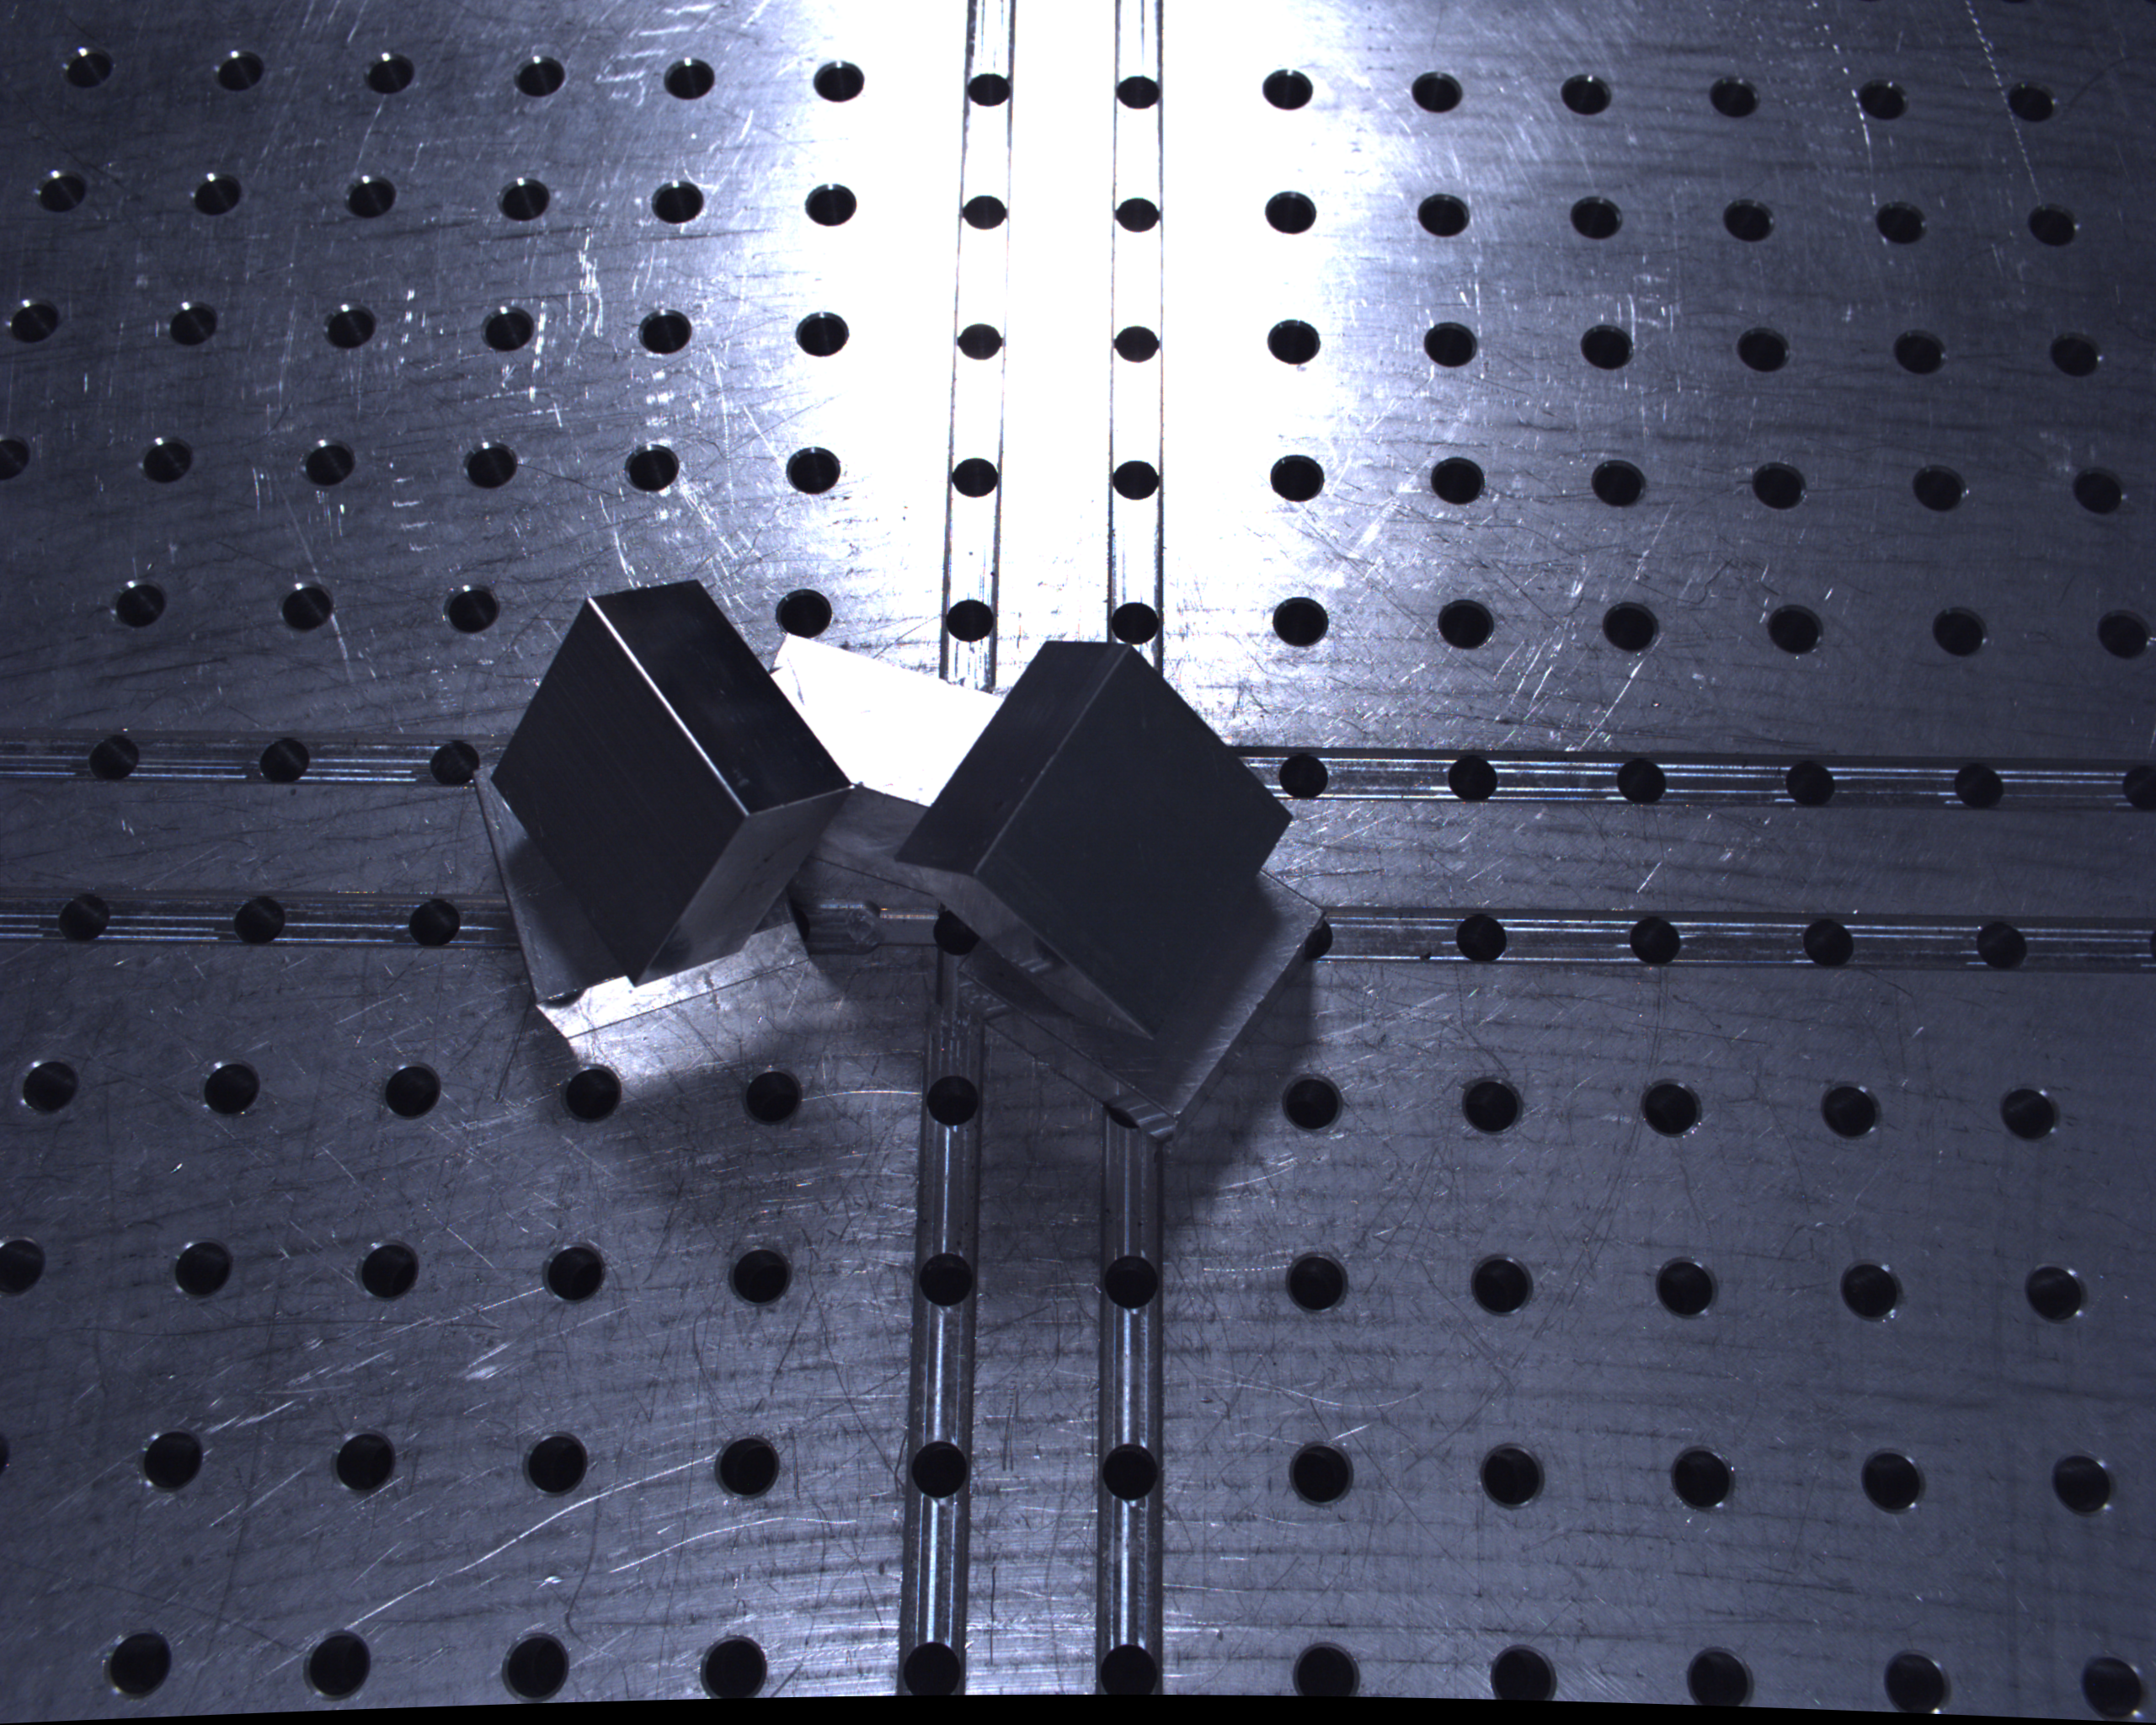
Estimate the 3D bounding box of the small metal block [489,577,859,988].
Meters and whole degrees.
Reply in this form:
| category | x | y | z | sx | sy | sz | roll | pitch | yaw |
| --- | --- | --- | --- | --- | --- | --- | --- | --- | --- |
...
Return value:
| category | x | y | z | sx | sy | sz | roll | pitch | yaw |
| --- | --- | --- | --- | --- | --- | --- | --- | --- | --- |
| small metal block | -0.073 | -0.014 | 0.373 | 0.025 | 0.050 | 0.050 | -20 | 66 | -48 |

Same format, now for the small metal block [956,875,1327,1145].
| category | x | y | z | sx | sy | sz | roll | pitch | yaw |
| --- | --- | --- | --- | --- | --- | --- | --- | --- | --- |
| small metal block | 0.012 | 0.019 | 0.405 | 0.050 | 0.025 | 0.050 | 34 | 73 | 11 |

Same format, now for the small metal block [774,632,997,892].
| category | x | y | z | sx | sy | sz | roll | pitch | yaw |
| --- | --- | --- | --- | --- | --- | --- | --- | --- | --- |
| small metal block | -0.034 | -0.016 | 0.404 | 0.050 | 0.050 | 0.025 | 18 | 71 | 6 |

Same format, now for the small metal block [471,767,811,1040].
| category | x | y | z | sx | sy | sz | roll | pitch | yaw |
| --- | --- | --- | --- | --- | --- | --- | --- | --- | --- |
| small metal block | -0.086 | 0.001 | 0.411 | 0.050 | 0.025 | 0.050 | -18 | 71 | -7 |

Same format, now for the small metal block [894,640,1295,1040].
| category | x | y | z | sx | sy | sz | roll | pitch | yaw |
| --- | --- | --- | --- | --- | --- | --- | --- | --- | --- |
| small metal block | 0.004 | -0.004 | 0.372 | 0.050 | 0.025 | 0.050 | 44 | 69 | -32 |
